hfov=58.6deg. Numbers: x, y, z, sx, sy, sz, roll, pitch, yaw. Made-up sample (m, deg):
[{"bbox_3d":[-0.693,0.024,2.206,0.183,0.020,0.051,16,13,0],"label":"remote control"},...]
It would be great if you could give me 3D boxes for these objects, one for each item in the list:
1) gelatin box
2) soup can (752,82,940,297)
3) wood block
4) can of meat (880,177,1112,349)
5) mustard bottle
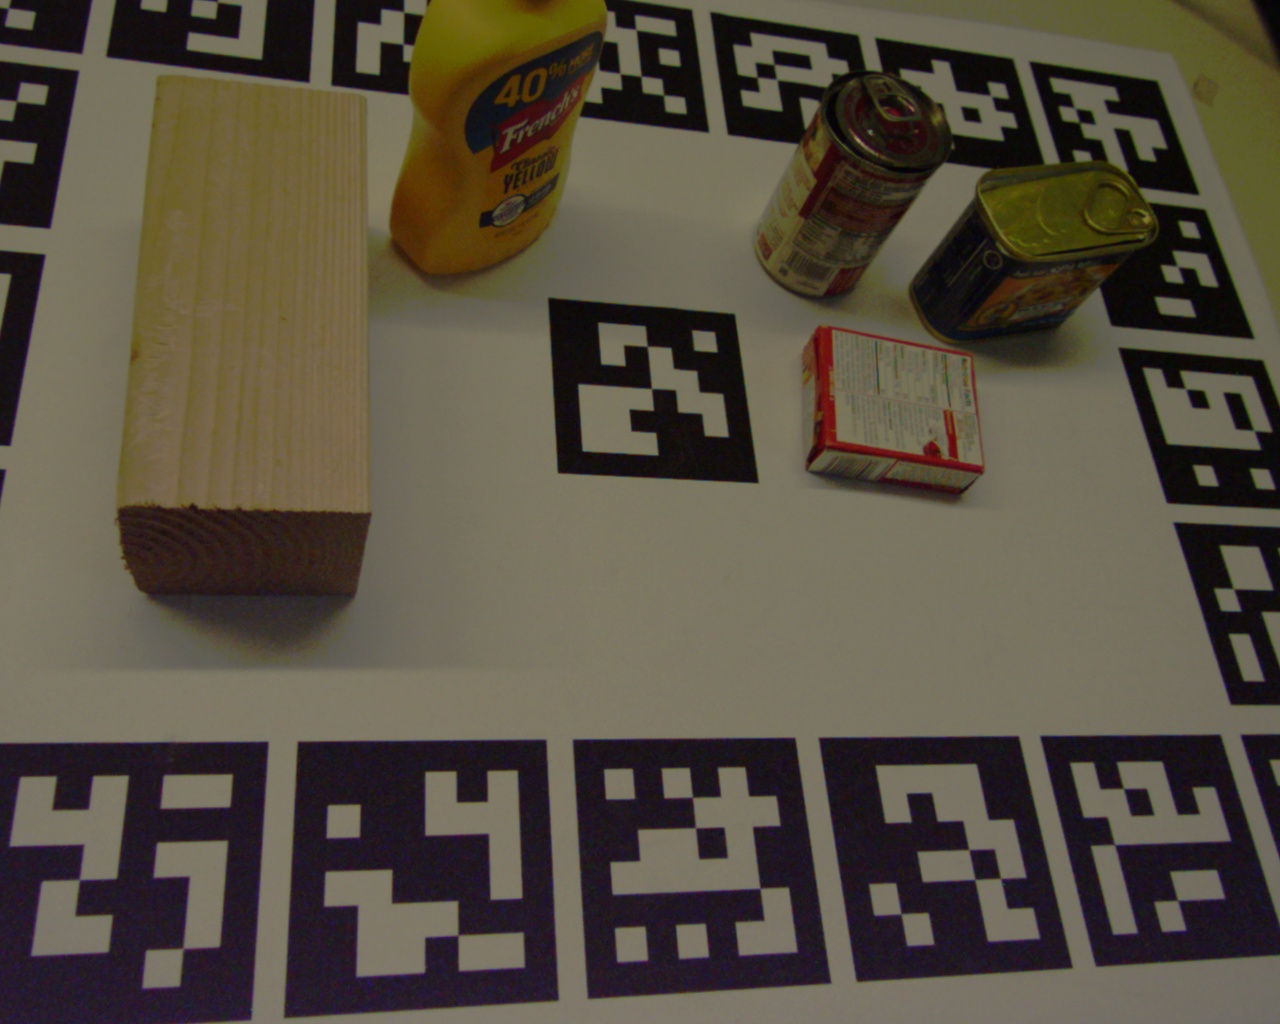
[{"bbox_3d":[0.128,-0.049,0.615,0.089,0.030,0.073,11,64,-7],"label":"gelatin box"},{"bbox_3d":[0.109,-0.173,0.625,0.067,0.102,0.068,6,65,-13],"label":"soup can"},{"bbox_3d":[-0.167,-0.076,0.519,0.090,0.090,0.207,4,60,-16],"label":"wood block"},{"bbox_3d":[0.200,-0.141,0.655,0.101,0.084,0.058,-11,69,-23],"label":"can of meat"},{"bbox_3d":[-0.069,-0.187,0.548,0.095,0.192,0.059,-23,73,-26],"label":"mustard bottle"}]
